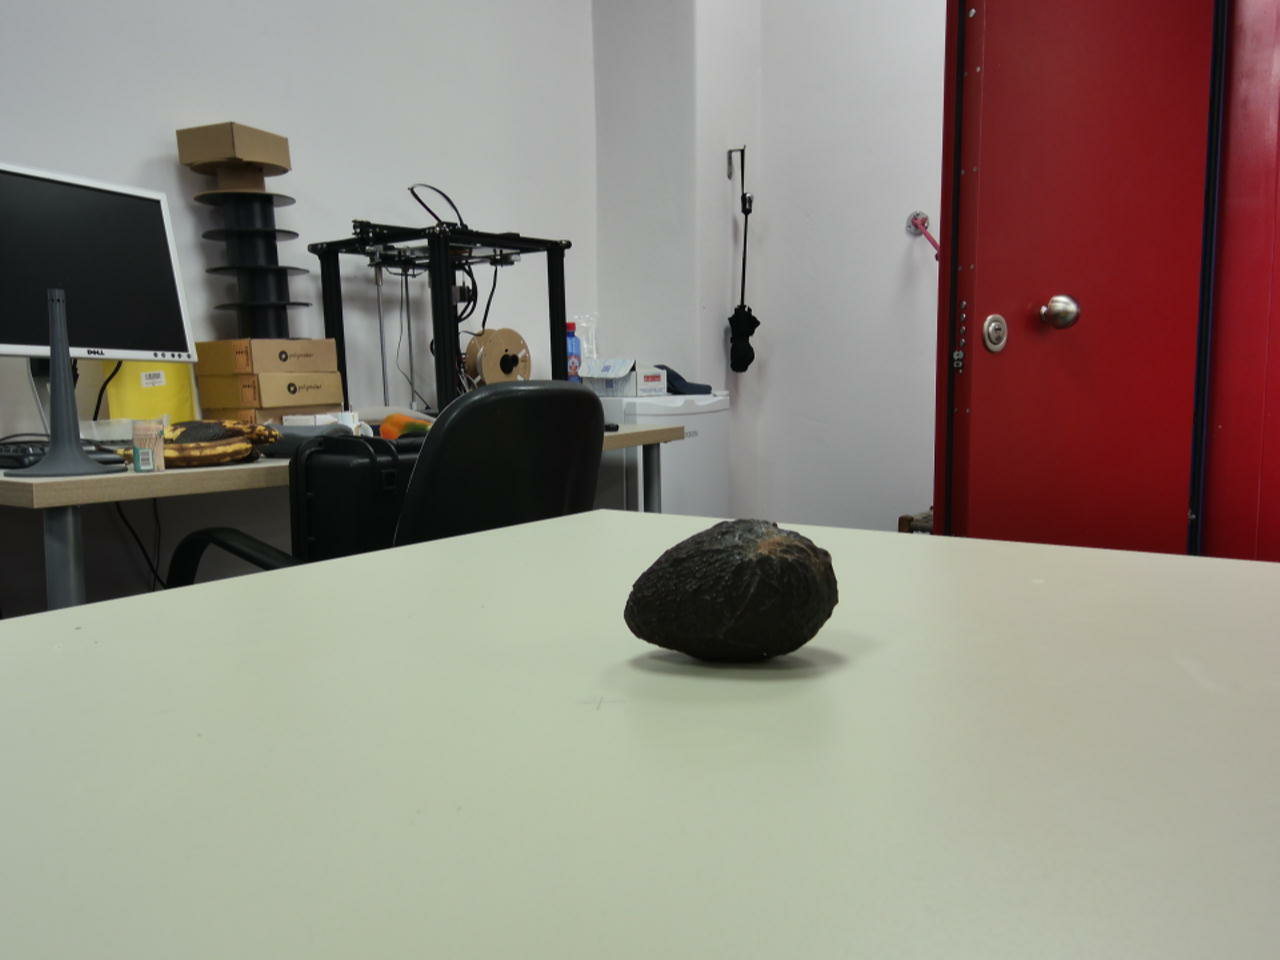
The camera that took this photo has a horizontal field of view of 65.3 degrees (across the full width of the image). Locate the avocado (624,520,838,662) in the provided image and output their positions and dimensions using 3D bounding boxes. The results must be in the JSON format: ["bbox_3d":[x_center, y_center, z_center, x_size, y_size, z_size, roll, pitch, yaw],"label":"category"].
[{"bbox_3d":[0.041,0.048,0.443,0.092,0.062,0.062,2,4,13],"label":"avocado"}]
